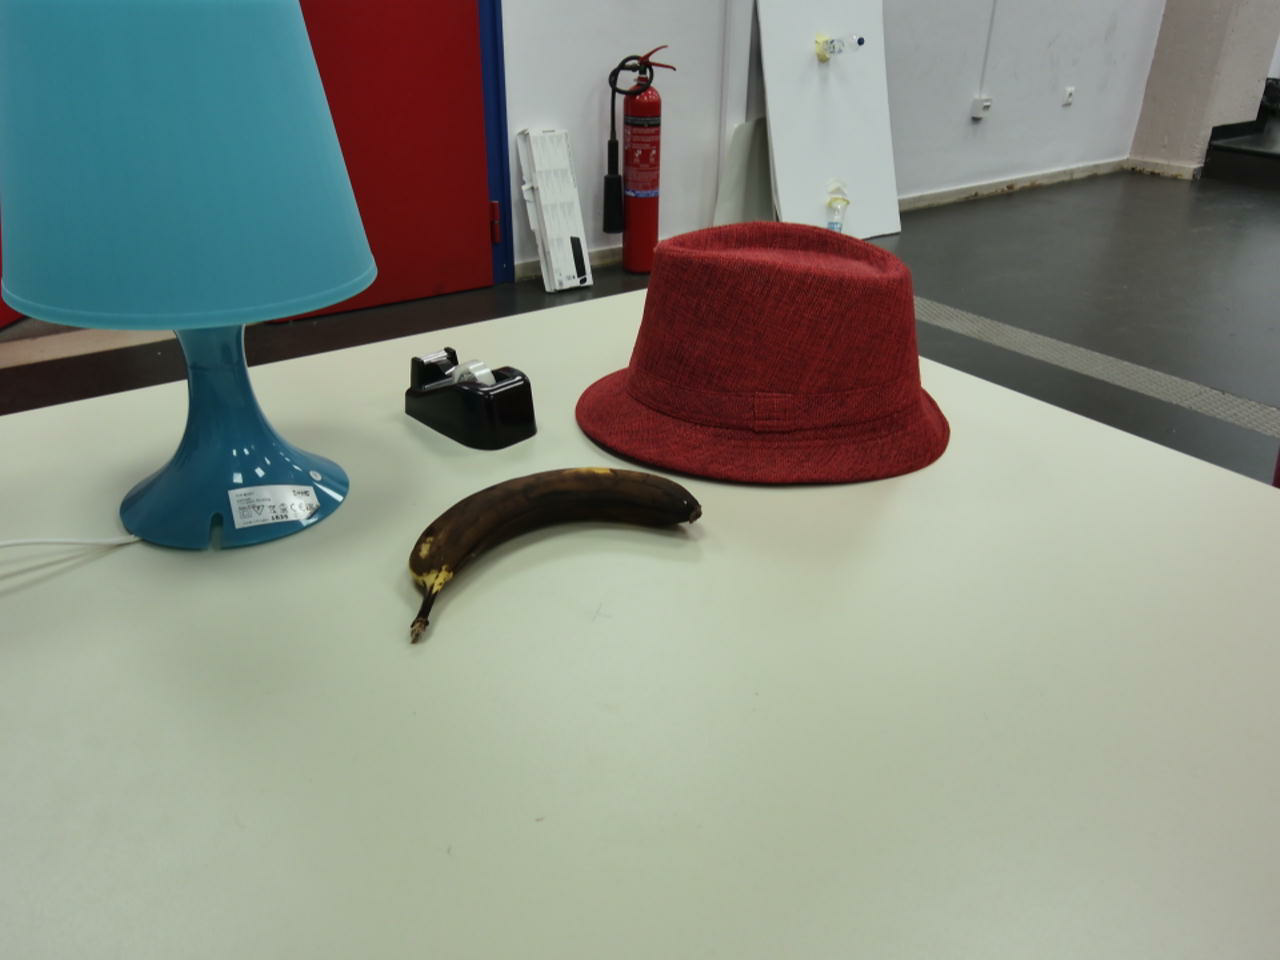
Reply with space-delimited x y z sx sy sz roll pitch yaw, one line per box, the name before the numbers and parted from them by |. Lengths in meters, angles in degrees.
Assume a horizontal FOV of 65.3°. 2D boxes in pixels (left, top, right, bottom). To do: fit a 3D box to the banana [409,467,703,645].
banana | -0.060 0.025 0.565 0.188 0.034 0.091 -17 31 -32
